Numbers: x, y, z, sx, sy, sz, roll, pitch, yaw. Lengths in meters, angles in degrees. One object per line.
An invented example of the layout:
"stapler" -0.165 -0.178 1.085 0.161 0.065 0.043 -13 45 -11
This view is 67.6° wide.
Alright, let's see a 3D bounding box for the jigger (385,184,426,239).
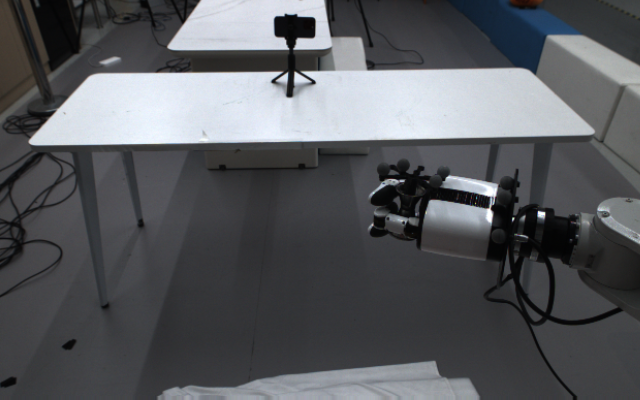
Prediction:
"jigger" 0.124 0.015 0.669 0.043 0.071 0.043 3 25 -1
